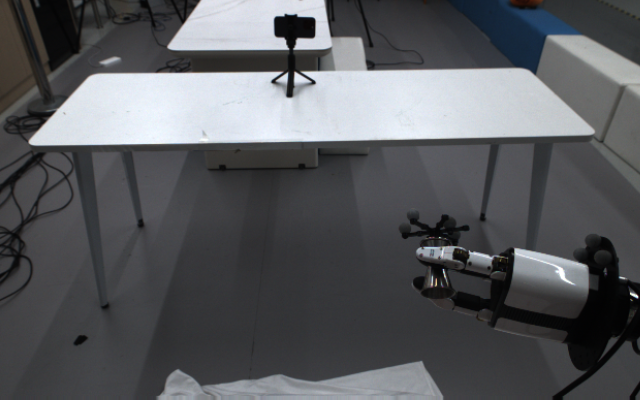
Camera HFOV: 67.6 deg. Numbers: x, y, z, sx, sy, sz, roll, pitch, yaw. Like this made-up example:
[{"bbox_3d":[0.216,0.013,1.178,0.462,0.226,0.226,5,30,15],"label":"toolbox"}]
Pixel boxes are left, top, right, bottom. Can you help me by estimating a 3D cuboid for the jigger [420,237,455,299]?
[{"bbox_3d":[0.147,0.083,0.614,0.043,0.043,0.071,4,60,3],"label":"jigger"}]
